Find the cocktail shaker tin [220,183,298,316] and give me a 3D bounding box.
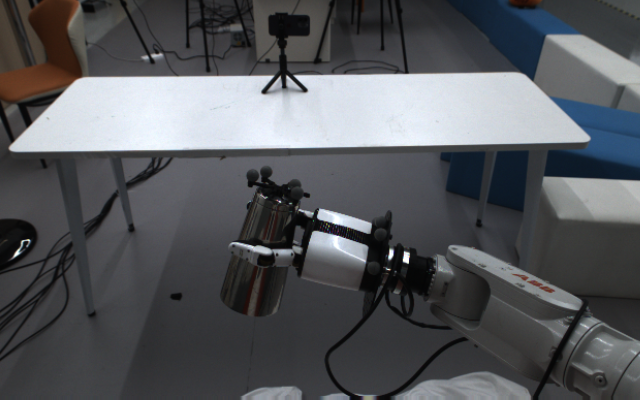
[{"bbox_3d":[-0.082,0.070,0.697,0.093,0.170,0.093,15,17,-5],"label":"cocktail shaker tin"}]
